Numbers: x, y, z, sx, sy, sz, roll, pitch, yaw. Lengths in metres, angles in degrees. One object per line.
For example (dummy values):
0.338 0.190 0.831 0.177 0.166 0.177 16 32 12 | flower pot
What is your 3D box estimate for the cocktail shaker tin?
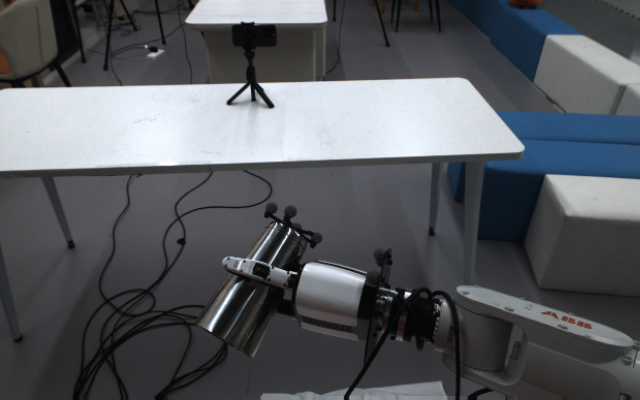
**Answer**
-0.085 0.113 0.664 0.093 0.093 0.170 20 66 24 | cocktail shaker tin
